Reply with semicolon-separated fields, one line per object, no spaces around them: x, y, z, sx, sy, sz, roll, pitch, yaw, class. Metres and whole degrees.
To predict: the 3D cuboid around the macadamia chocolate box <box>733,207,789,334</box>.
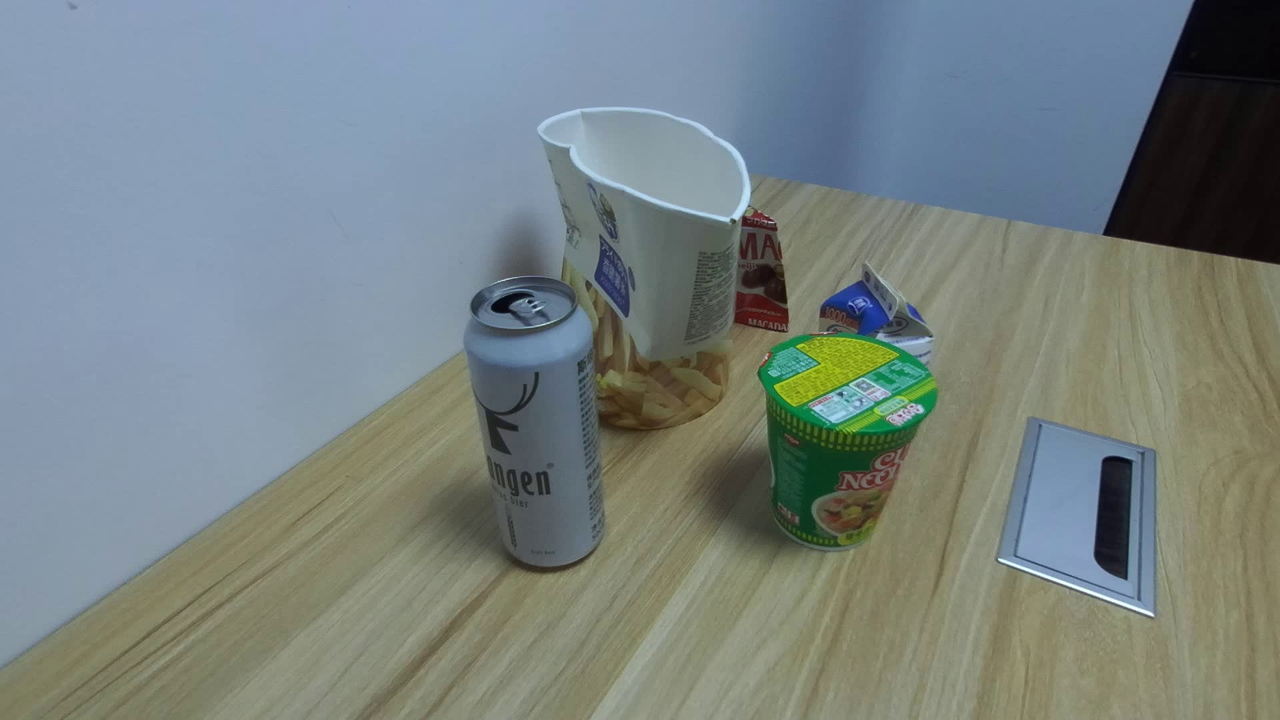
0.093;-0.097;0.650;0.056;0.112;0.126;-11;35;-11;macadamia chocolate box

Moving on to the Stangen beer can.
-0.056;0.040;0.403;0.067;0.171;0.067;-1;33;1;Stangen beer can

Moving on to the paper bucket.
0.002;-0.067;0.525;0.217;0.199;0.148;20;40;29;paper bucket

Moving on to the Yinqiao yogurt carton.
0.185;-0.023;0.553;0.071;0.094;0.077;-10;35;0;Yinqiao yogurt carton

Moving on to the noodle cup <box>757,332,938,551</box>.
0.118;0.053;0.426;0.097;0.110;0.097;-2;34;2;noodle cup
